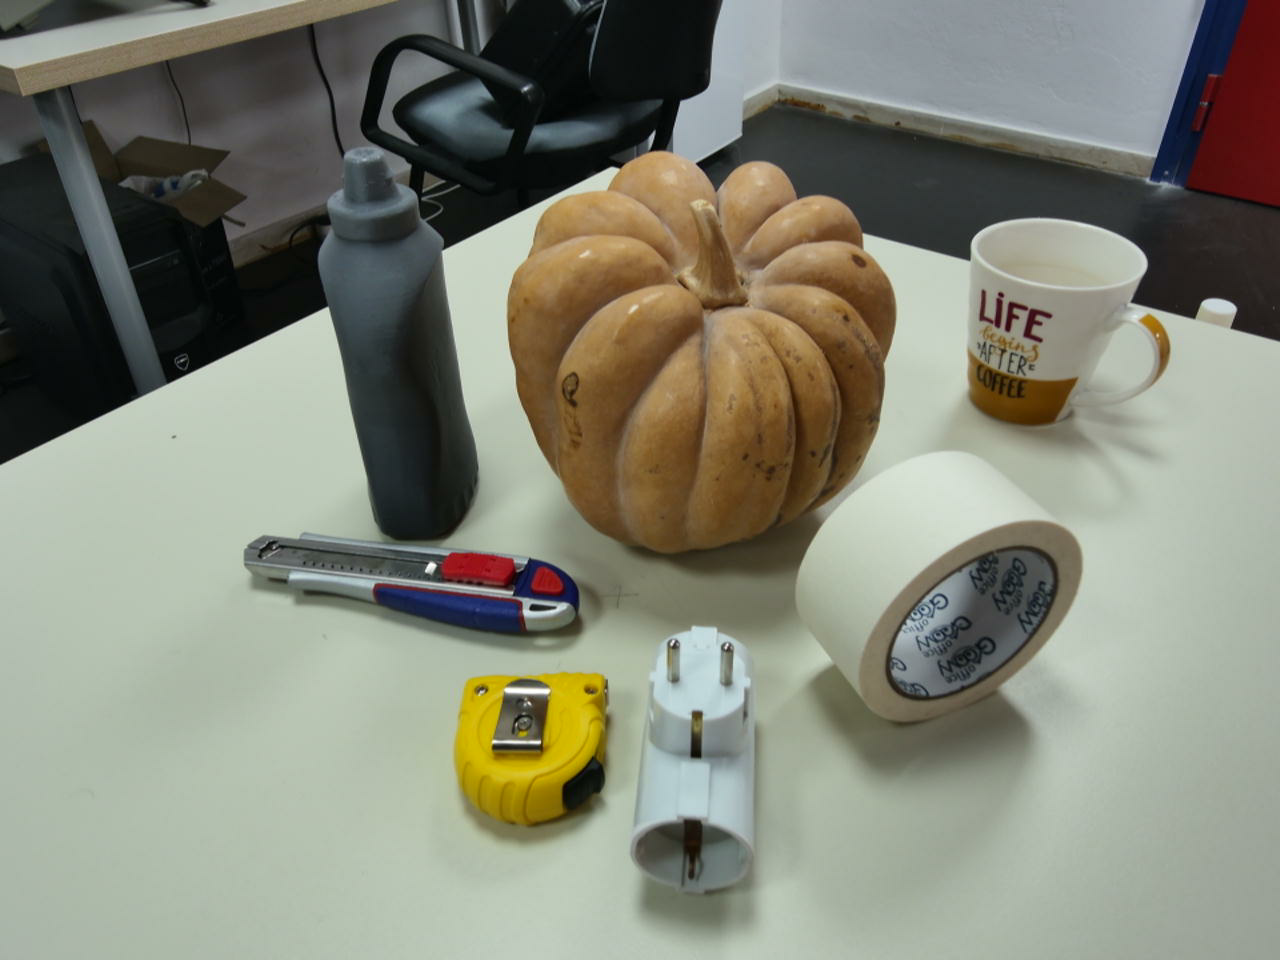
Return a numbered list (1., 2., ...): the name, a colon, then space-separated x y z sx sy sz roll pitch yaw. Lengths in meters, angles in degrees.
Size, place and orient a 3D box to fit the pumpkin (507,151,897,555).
1. pumpkin: 0.028 -0.060 0.501 0.199 0.177 0.198 -1 37 0
